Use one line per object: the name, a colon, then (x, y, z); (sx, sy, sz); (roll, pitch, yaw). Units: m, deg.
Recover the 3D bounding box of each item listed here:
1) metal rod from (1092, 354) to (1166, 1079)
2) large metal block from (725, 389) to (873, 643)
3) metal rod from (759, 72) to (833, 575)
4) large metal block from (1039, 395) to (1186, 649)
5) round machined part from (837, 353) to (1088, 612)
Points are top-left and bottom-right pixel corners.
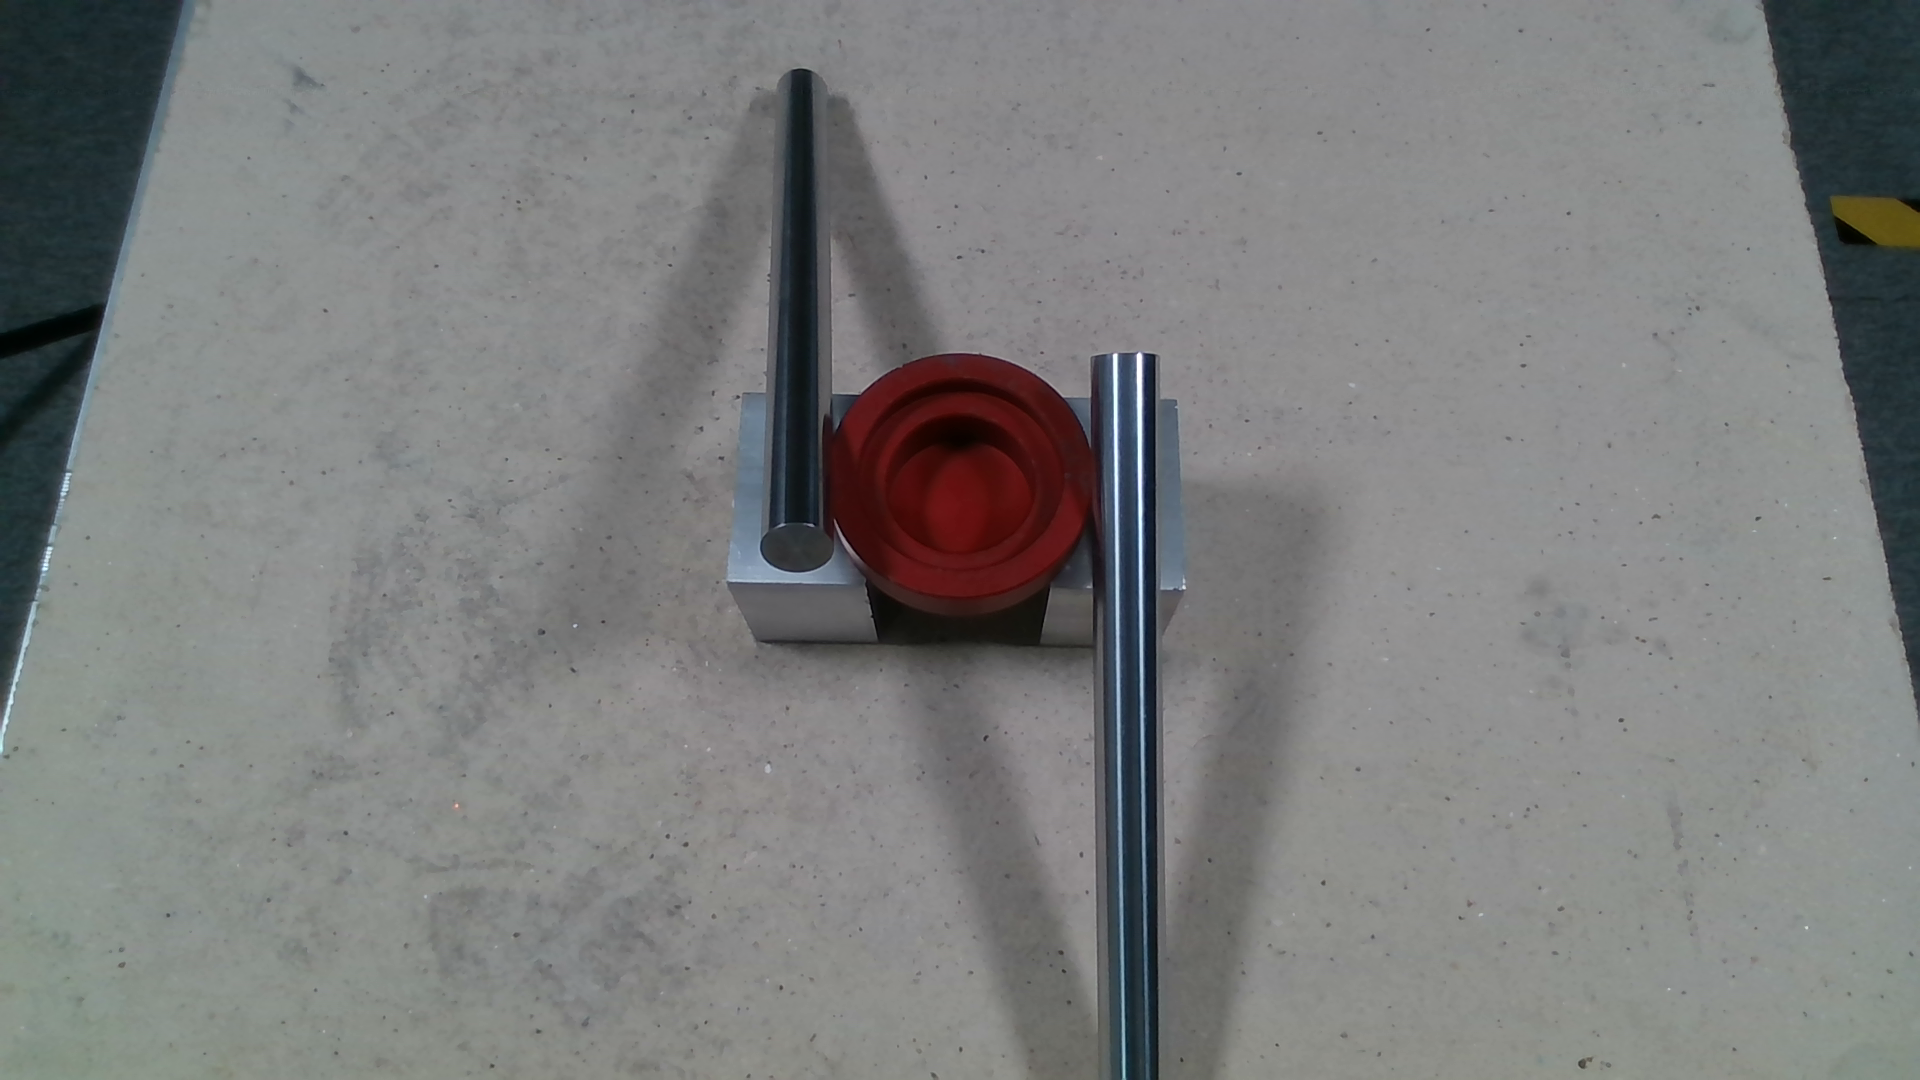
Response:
metal rod: (0.062, 0.084, 0.501); (0.025, 0.025, 0.300); (-1, 92, 0)
large metal block: (-0.061, -0.007, 0.561); (0.050, 0.080, 0.080); (1, 70, 0)
metal rod: (-0.065, -0.106, 0.567); (0.025, 0.025, 0.299); (-4, 47, -1)
large metal block: (0.059, -0.005, 0.561); (0.050, 0.080, 0.080); (1, 70, 0)
round machined part: (0.000, -0.018, 0.523); (0.098, 0.042, 0.098); (0, 70, 0)
